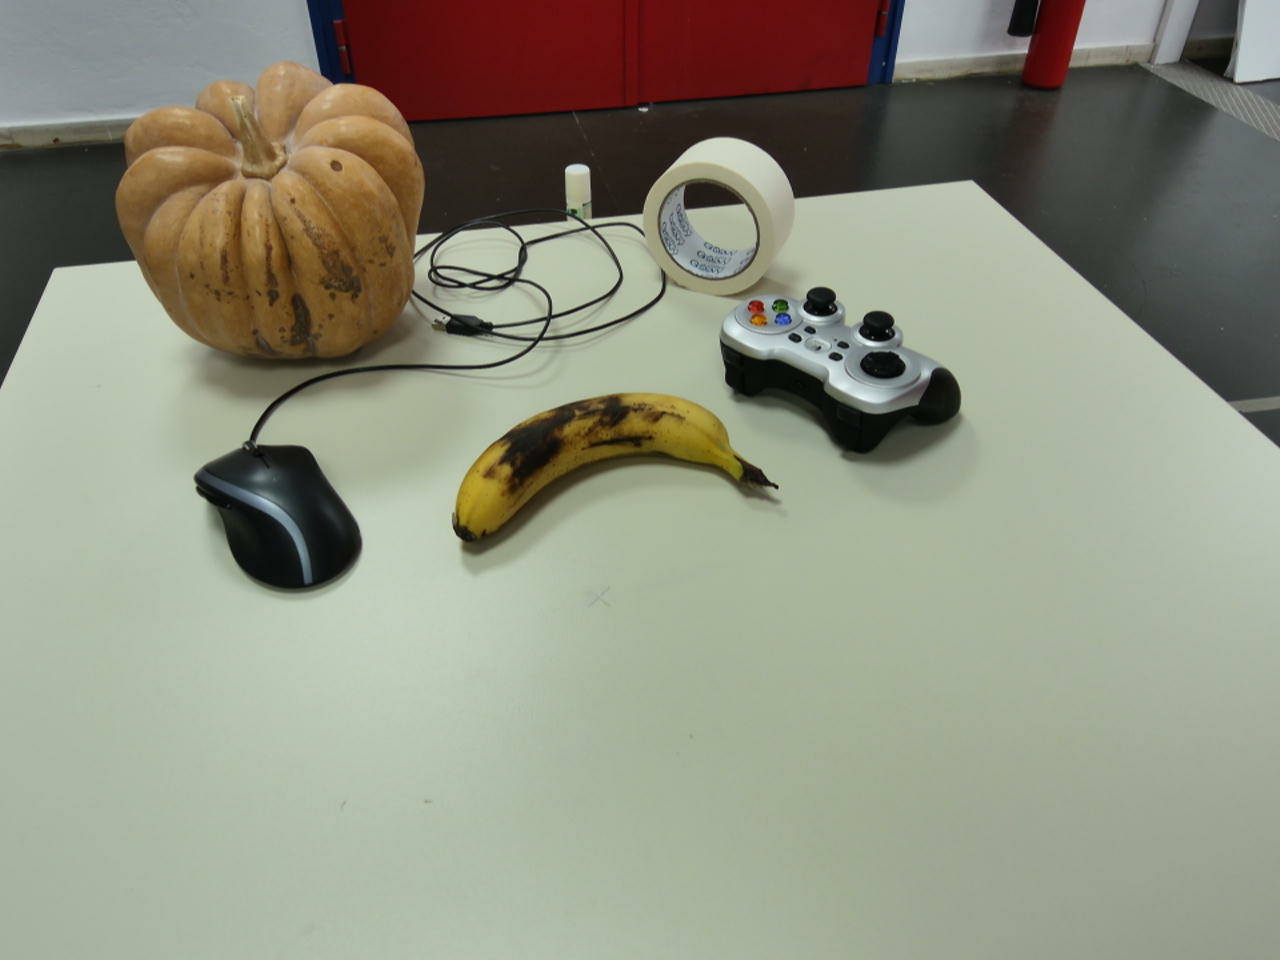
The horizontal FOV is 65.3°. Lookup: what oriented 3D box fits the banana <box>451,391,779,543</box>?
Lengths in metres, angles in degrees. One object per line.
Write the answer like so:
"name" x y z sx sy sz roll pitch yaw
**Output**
"banana" -0.023 -0.015 0.598 0.187 0.039 0.094 -9 40 -11
